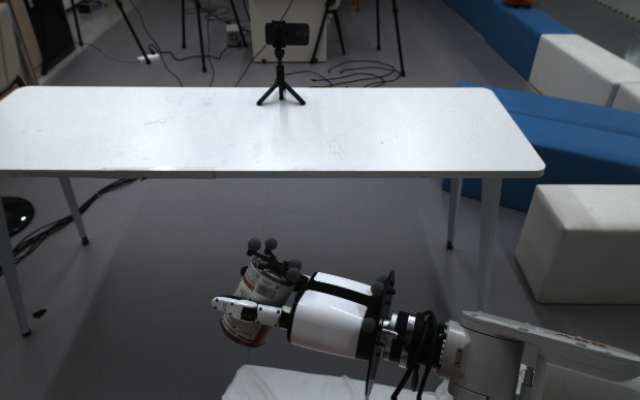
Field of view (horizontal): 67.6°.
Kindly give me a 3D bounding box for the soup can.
[{"bbox_3d":[-0.080,0.134,0.641,0.067,0.101,0.067,27,10,-5],"label":"soup can"}]
